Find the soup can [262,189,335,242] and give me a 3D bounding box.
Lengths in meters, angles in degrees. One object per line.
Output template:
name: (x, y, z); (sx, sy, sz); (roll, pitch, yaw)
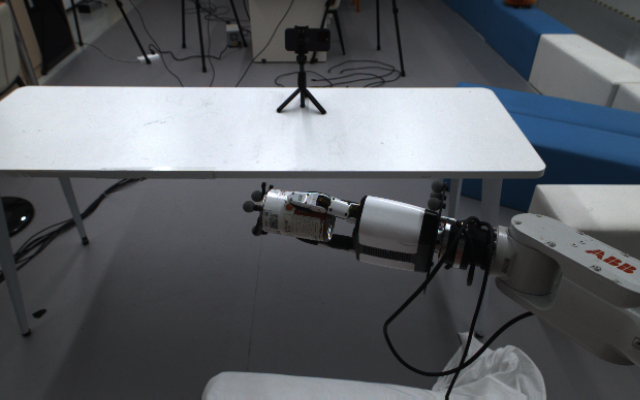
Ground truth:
soup can: (-0.029, 0.023, 0.720); (0.101, 0.067, 0.067); (9, 35, 10)
